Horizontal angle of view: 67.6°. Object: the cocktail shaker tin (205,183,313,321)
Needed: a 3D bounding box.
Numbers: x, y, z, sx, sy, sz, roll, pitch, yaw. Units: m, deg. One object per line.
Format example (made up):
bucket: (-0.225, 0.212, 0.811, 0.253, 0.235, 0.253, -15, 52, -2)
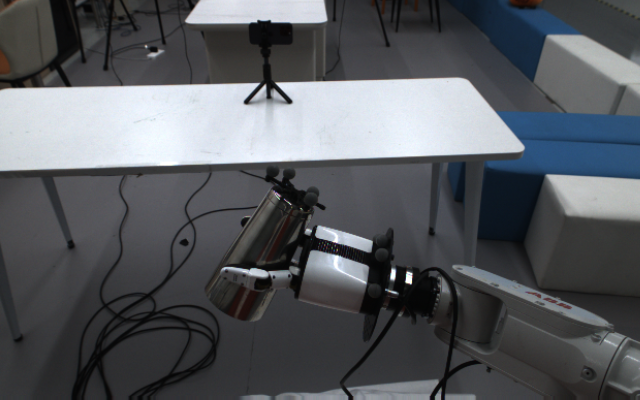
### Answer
cocktail shaker tin: (-0.076, 0.068, 0.654, 0.093, 0.170, 0.093, 28, 14, -7)
